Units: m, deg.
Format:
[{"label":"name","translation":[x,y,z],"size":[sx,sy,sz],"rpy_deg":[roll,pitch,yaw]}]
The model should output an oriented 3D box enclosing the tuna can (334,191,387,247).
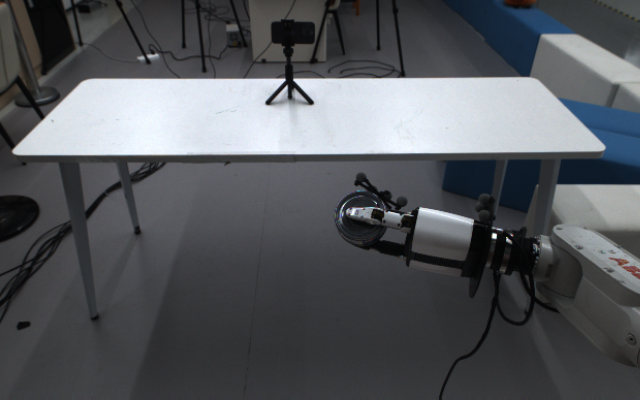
[{"label":"tuna can","translation":[0.070,0.034,0.775],"size":[0.085,0.034,0.085],"rpy_deg":[-4,69,10]}]
